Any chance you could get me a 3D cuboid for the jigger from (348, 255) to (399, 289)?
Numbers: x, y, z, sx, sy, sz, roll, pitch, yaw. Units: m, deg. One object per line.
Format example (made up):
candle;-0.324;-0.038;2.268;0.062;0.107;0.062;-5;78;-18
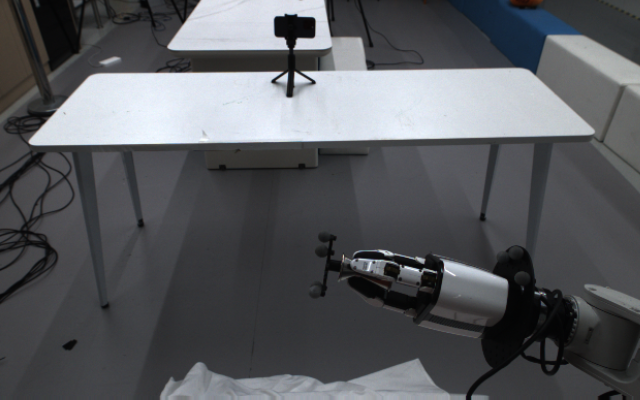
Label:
jigger;0.067;0.091;0.638;0.071;0.043;0.043;10;35;2
